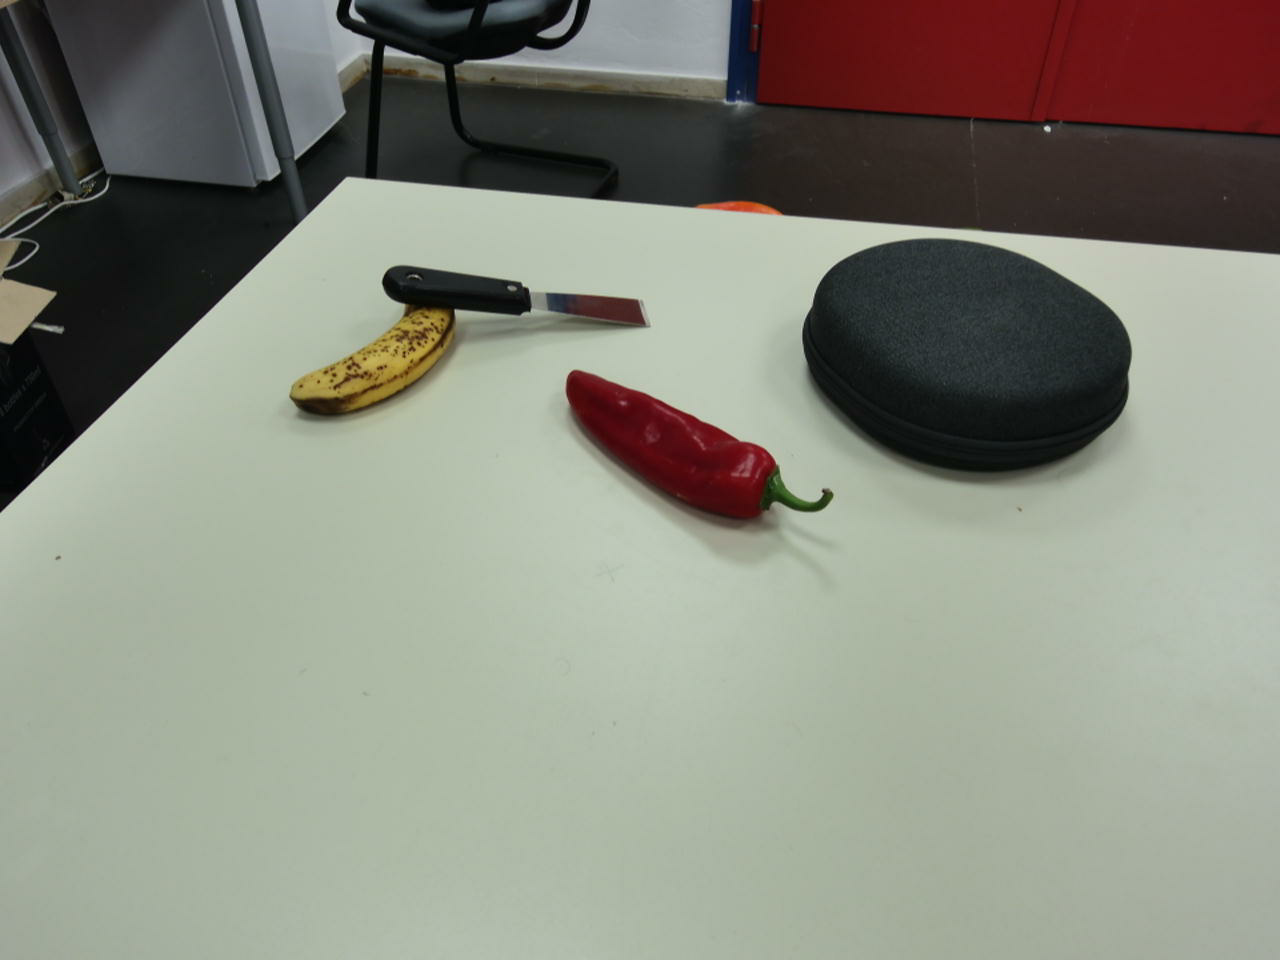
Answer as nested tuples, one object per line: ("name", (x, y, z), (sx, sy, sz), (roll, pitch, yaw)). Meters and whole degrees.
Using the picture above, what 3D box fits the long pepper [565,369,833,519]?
("long pepper", (0.023, -0.021, 0.605), (0.211, 0.043, 0.050), (31, 49, 33))
